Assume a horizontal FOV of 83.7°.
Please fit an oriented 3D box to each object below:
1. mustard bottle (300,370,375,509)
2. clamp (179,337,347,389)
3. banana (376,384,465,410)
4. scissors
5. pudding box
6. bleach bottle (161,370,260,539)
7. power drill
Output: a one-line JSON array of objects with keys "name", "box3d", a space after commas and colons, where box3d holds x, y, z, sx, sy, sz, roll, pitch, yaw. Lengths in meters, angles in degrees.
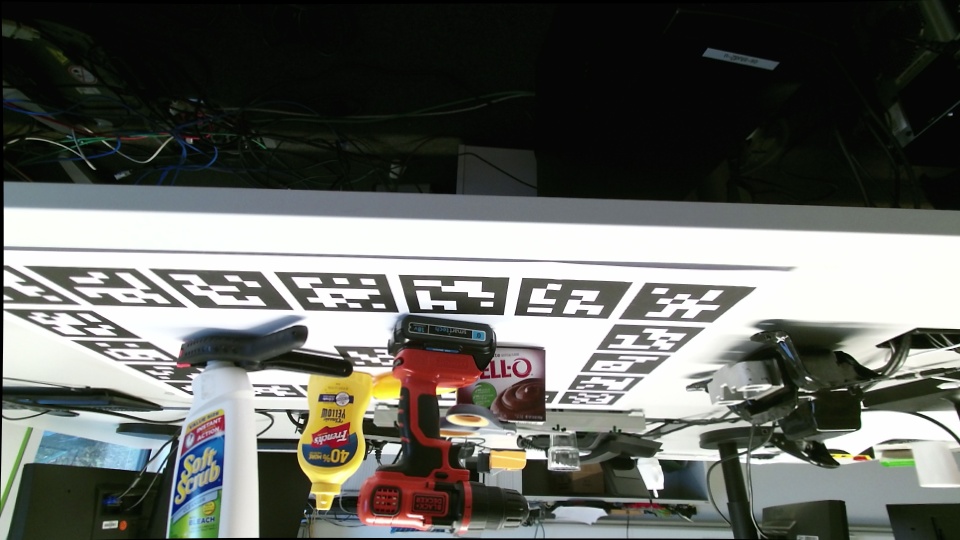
[{"name": "mustard bottle", "box3d": [-0.210, 0.247, 0.786, 0.096, 0.190, 0.058, 9, 152, -12]}, {"name": "clamp", "box3d": [-0.279, 0.122, 0.672, 0.203, 0.036, 0.166, 0, 151, 6]}, {"name": "banana", "box3d": [-0.100, 0.199, 0.829, 0.198, 0.038, 0.074, -19, 163, 34]}, {"name": "scissors", "box3d": [0.044, 0.212, 0.663, 0.204, 0.016, 0.088, 18, 145, -20]}, {"name": "pudding box", "box3d": [0.037, 0.152, 0.686, 0.114, 0.089, 0.039, 4, 160, -4]}, {"name": "bleach bottle", "box3d": [-0.317, 0.221, 0.639, 0.103, 0.249, 0.068, -13, 154, 12]}, {"name": "power drill", "box3d": [-0.023, 0.179, 0.575, 0.185, 0.186, 0.057, 5, 160, -14]}]
